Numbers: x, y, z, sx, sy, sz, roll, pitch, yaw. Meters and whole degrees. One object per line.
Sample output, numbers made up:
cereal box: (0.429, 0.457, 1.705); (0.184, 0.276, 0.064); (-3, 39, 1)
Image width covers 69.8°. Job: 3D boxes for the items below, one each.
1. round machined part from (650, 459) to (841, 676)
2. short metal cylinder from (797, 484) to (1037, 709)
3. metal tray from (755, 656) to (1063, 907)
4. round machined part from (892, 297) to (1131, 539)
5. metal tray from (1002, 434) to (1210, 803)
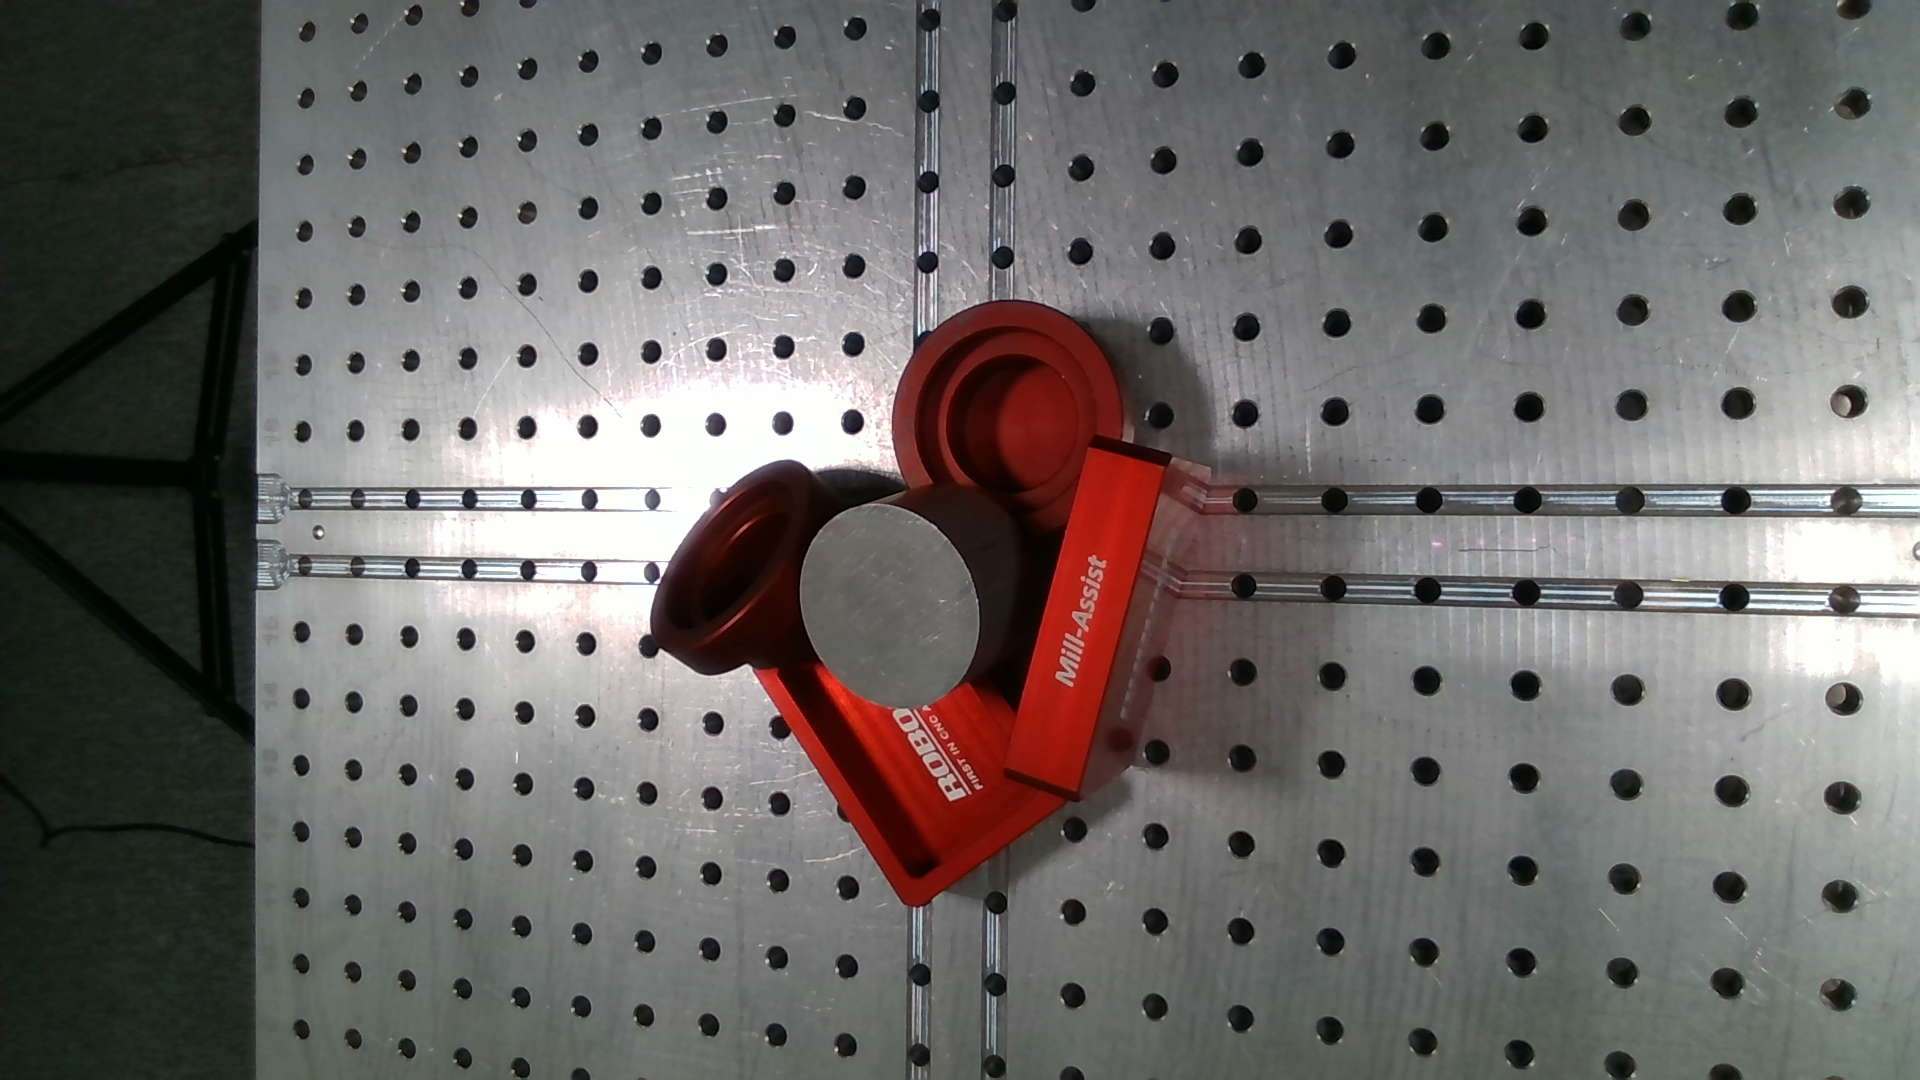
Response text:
round machined part: (-0.085, 0.016, 0.592); (0.098, 0.042, 0.098); (-32, 36, 27)
short metal cylinder: (-0.017, 0.021, 0.541); (0.080, 0.050, 0.080); (7, 106, 27)
metal tray: (-0.020, 0.078, 0.593); (0.090, 0.030, 0.130); (-39, 78, 16)
round machined part: (0.025, -0.048, 0.570); (0.098, 0.042, 0.098); (0, 91, 20)
metal tray: (0.059, 0.028, 0.532); (0.030, 0.090, 0.130); (16, 96, 20)
